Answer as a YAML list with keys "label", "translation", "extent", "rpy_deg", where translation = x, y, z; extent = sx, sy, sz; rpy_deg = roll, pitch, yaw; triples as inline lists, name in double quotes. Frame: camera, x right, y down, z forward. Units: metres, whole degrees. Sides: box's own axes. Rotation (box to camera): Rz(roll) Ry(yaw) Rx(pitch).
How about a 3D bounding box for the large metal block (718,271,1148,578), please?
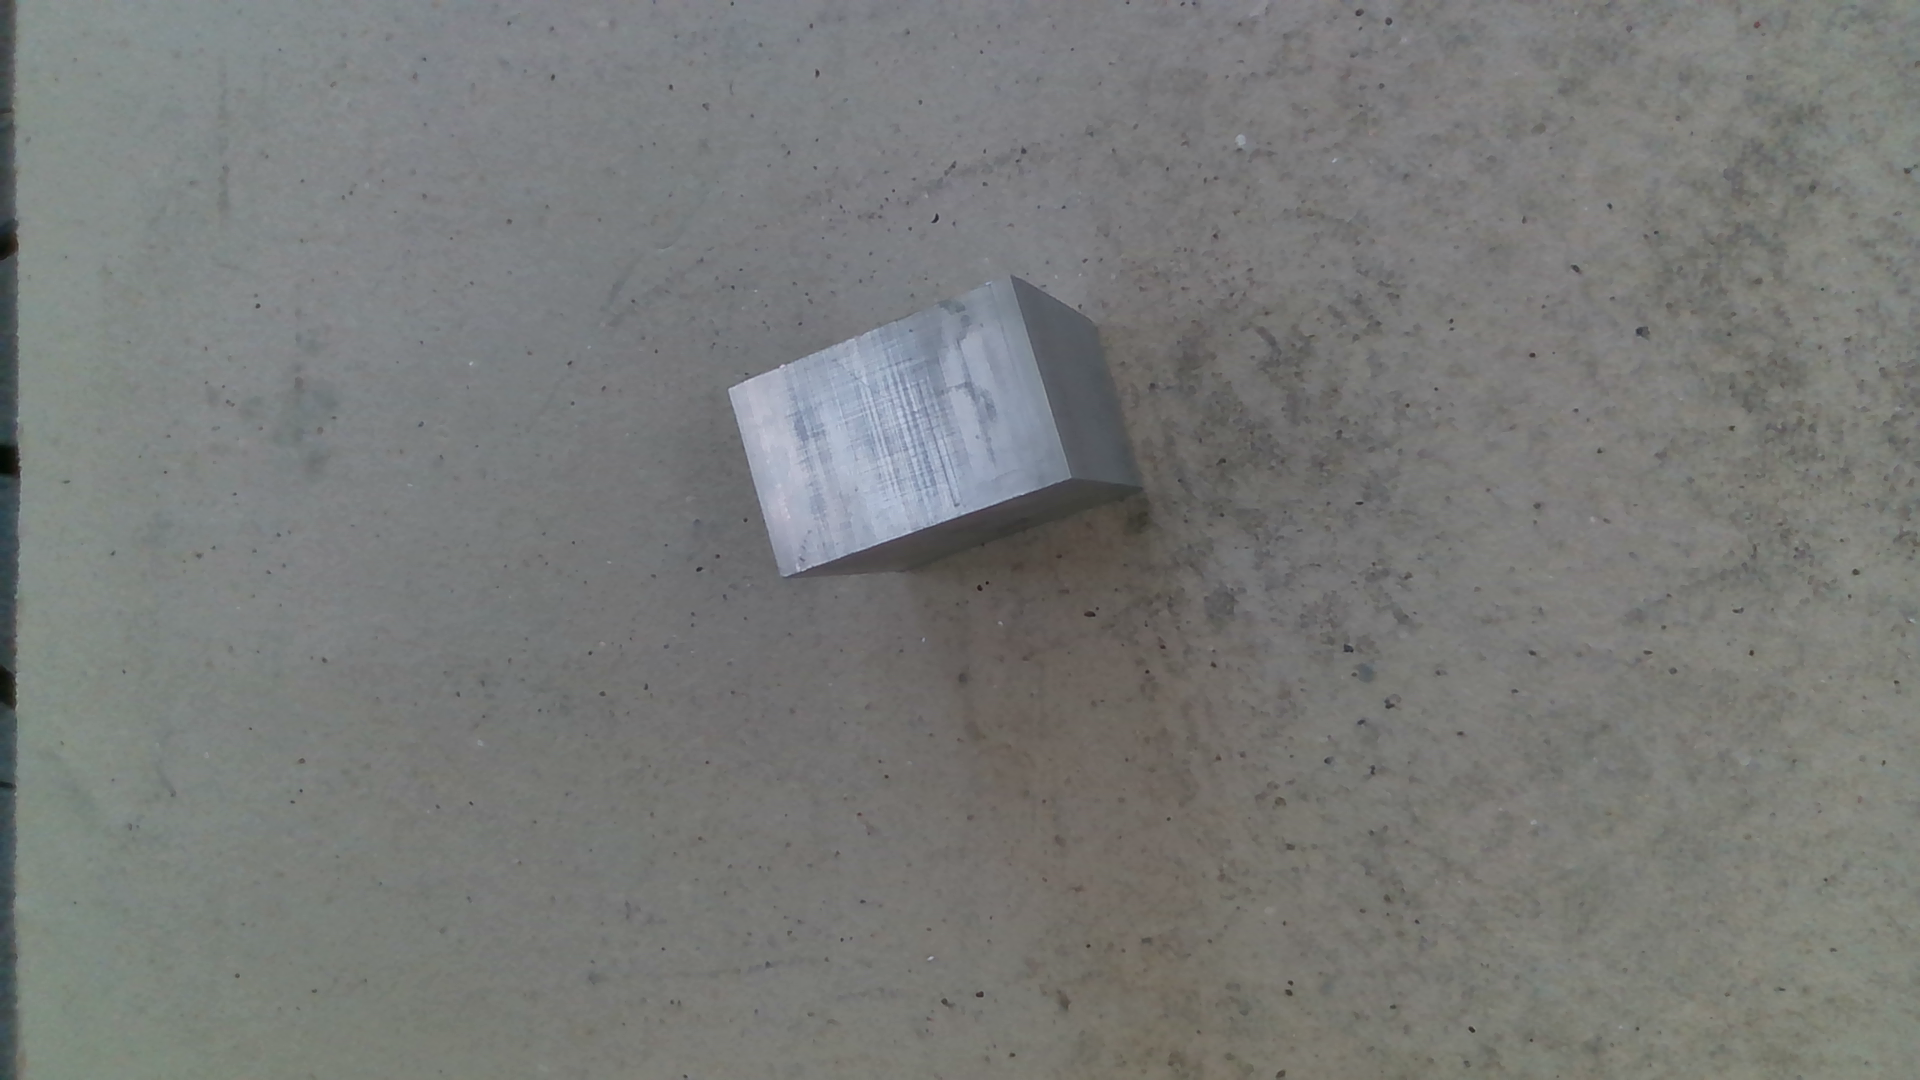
- label: "large metal block"
  translation: [-0.004, -0.026, 0.365]
  extent: [0.080, 0.080, 0.050]
  rpy_deg: [-18, 84, 19]
